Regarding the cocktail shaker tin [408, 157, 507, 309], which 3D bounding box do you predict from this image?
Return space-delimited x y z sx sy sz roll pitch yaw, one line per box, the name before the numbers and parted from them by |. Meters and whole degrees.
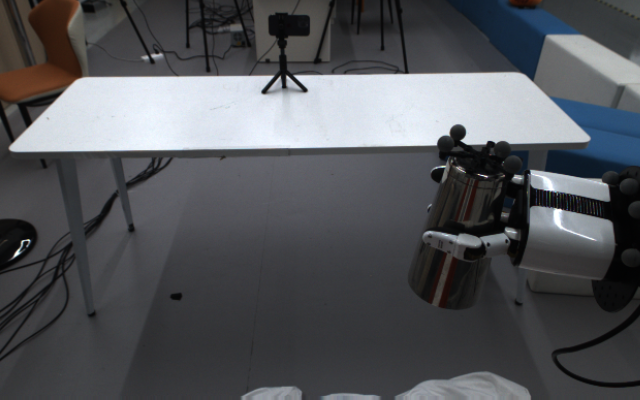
cocktail shaker tin | 0.164 0.032 0.562 0.093 0.170 0.093 4 32 -2
